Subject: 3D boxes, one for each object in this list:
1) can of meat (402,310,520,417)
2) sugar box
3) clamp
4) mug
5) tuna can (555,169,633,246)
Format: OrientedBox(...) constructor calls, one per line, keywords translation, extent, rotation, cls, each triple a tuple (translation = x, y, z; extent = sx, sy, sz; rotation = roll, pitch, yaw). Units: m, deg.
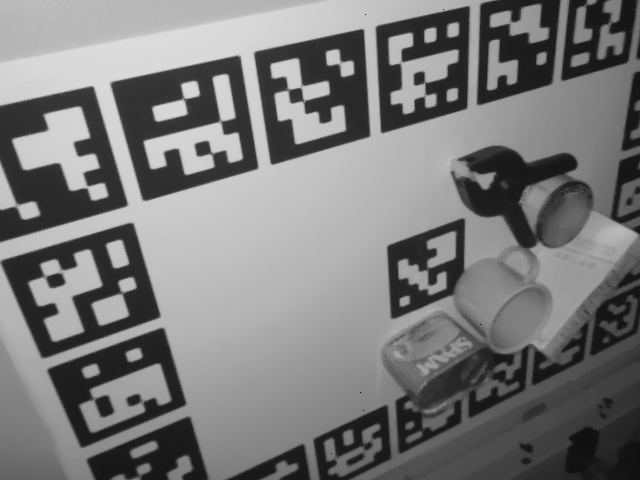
OrientedBox(translation=(0.152, 0.131, 0.762), extent=(0.103, 0.083, 0.057), rotation=(-24, 124, -13), cls="can of meat")
OrientedBox(translation=(0.326, 0.048, 0.806), extent=(0.176, 0.092, 0.045), rotation=(-49, 127, 3), cls="sugar box")
OrientedBox(translation=(0.231, -0.066, 0.738), extent=(0.167, 0.036, 0.121), rotation=(20, 107, -28), cls="clamp")
OrientedBox(translation=(0.241, 0.062, 0.766), extent=(0.094, 0.081, 0.116), rotation=(8, 108, -29), cls="mug")
OrientedBox(translation=(0.310, -0.038, 0.785), extent=(0.087, 0.033, 0.085), rotation=(-11, 116, -22), cls="tuna can")
